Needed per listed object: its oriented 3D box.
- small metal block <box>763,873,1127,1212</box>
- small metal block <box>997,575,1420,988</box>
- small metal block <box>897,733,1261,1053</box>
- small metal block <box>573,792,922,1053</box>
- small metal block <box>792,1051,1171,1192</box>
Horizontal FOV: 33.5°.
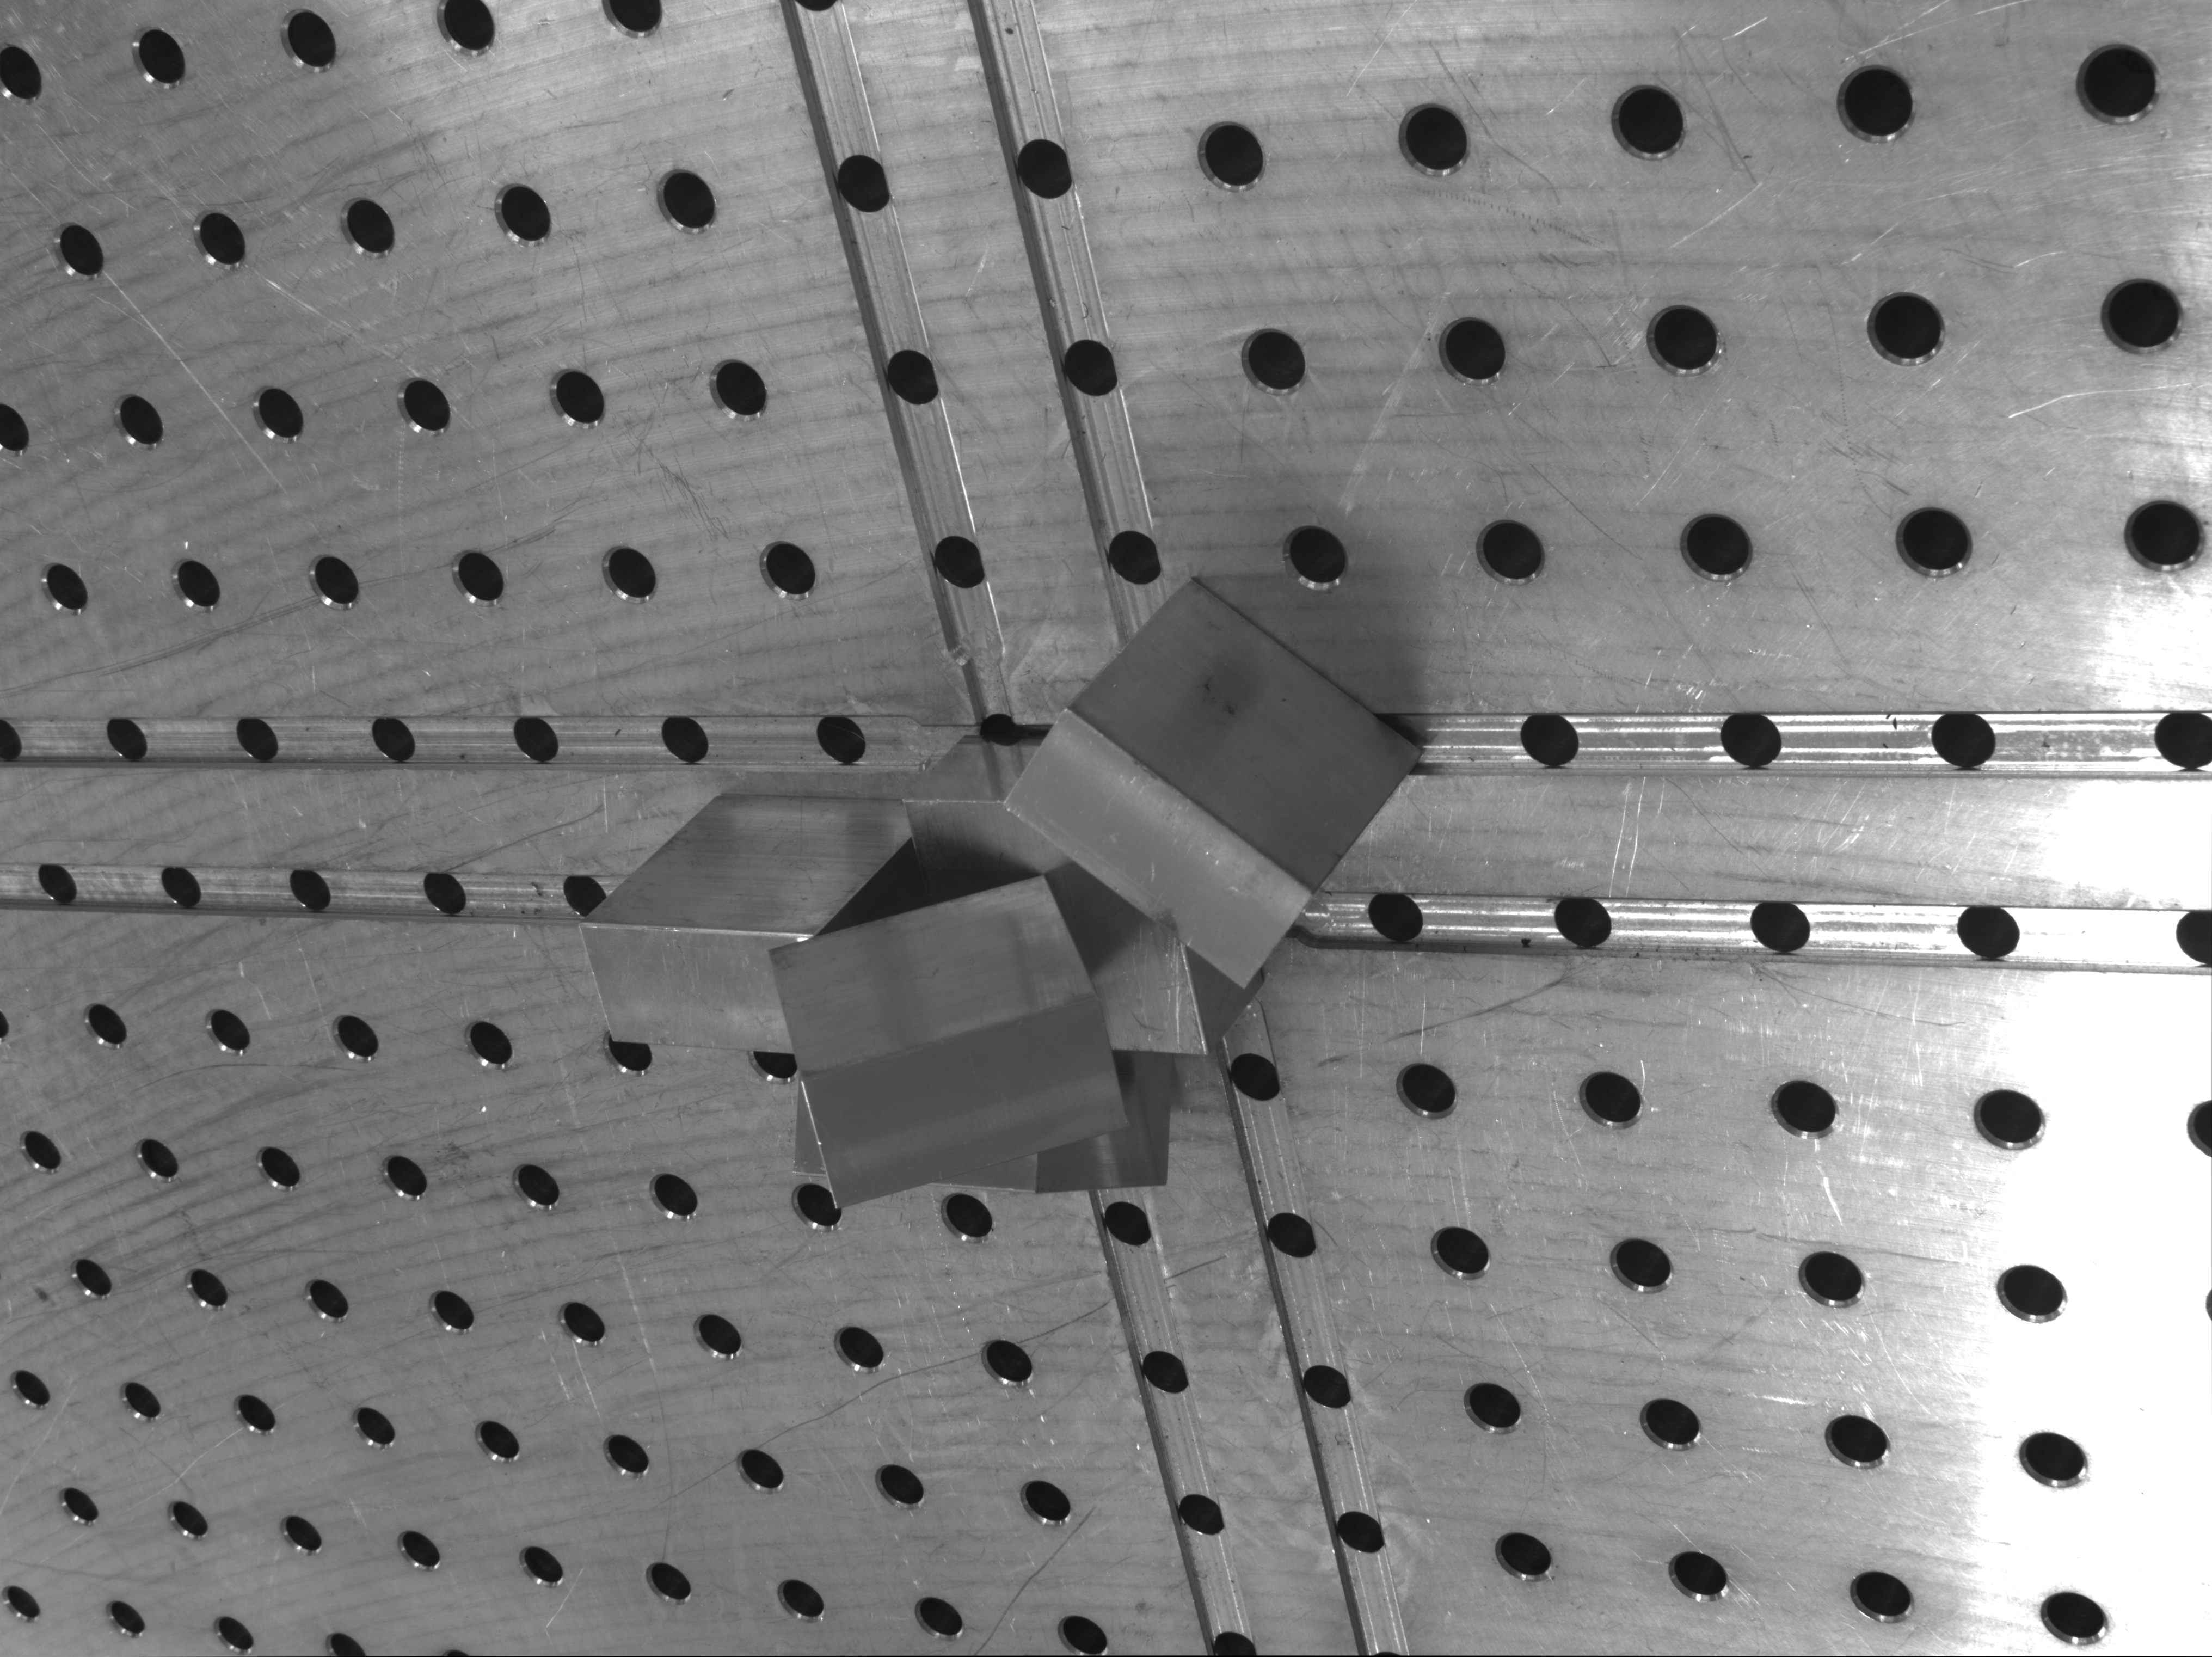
[{"bbox_3d":[-0.028,0.035,0.621,0.050,0.050,0.025,-15,116,-6],"label":"small metal block"},{"bbox_3d":[0.018,-0.009,0.615,0.050,0.050,0.025,37,128,4],"label":"small metal block"},{"bbox_3d":[-0.004,0.011,0.655,0.050,0.025,0.050,1,119,27],"label":"small metal block"},{"bbox_3d":[-0.060,0.017,0.672,0.050,0.050,0.025,2,120,28],"label":"small metal block"},{"bbox_3d":[-0.022,0.051,0.670,0.050,0.050,0.025,1,87,28],"label":"small metal block"}]
